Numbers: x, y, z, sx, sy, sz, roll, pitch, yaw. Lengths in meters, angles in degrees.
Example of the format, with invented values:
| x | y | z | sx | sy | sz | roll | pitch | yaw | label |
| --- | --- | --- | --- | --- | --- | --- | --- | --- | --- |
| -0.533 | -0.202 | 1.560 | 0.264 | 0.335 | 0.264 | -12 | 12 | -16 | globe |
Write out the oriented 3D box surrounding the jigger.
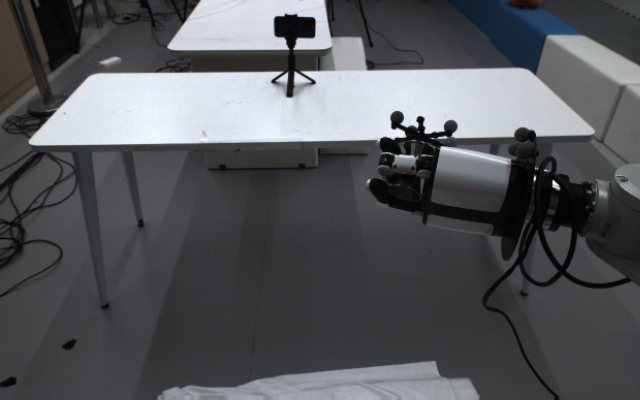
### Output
| x | y | z | sx | sy | sz | roll | pitch | yaw | label |
| --- | --- | --- | --- | --- | --- | --- | --- | --- | --- |
| 0.121 | -0.038 | 0.619 | 0.043 | 0.043 | 0.071 | 13 | 69 | 15 | jigger |
